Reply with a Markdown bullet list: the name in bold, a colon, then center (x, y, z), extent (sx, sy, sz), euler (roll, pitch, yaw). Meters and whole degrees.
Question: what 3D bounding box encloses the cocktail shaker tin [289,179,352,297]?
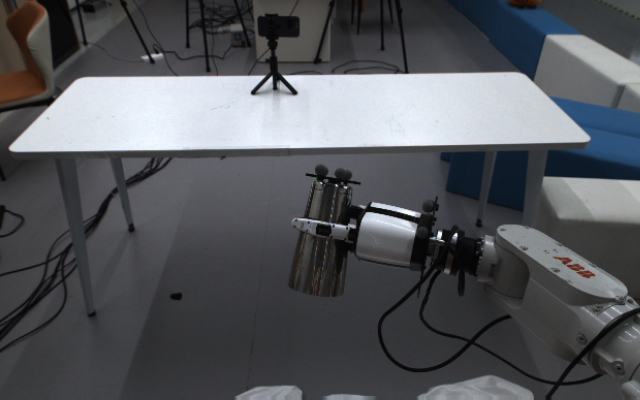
- **cocktail shaker tin**: center (0.007, 0.058, 0.773), extent (0.093, 0.170, 0.093), euler (9, 3, 0)
